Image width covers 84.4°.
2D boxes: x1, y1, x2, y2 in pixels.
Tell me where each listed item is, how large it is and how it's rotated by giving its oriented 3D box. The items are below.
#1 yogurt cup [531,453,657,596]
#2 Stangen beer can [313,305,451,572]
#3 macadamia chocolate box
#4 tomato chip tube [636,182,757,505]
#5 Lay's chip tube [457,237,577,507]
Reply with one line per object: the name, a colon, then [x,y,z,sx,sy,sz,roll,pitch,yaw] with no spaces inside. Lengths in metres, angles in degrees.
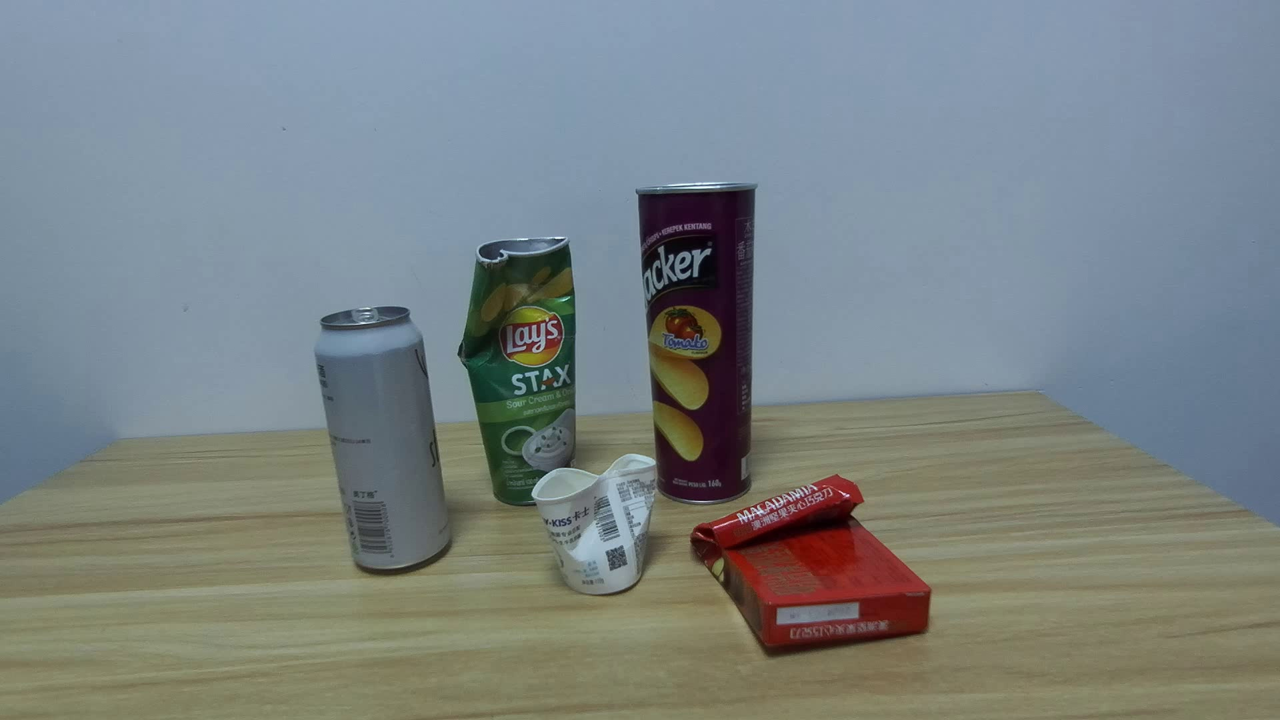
yogurt cup: [-0.025,0.102,0.443,0.053,0.071,0.076,7,20,30]
Stangen beer can: [-0.171,0.054,0.473,0.067,0.171,0.067,-4,14,1]
macadamia chocolate box: [0.095,0.121,0.426,0.112,0.056,0.126,-20,20,-2]
tomato chip tube: [0.047,-0.012,0.537,0.077,0.234,0.080,-13,18,-32]
Lay's chip tube: [-0.090,0.009,0.553,0.069,0.201,0.077,2,20,16]
